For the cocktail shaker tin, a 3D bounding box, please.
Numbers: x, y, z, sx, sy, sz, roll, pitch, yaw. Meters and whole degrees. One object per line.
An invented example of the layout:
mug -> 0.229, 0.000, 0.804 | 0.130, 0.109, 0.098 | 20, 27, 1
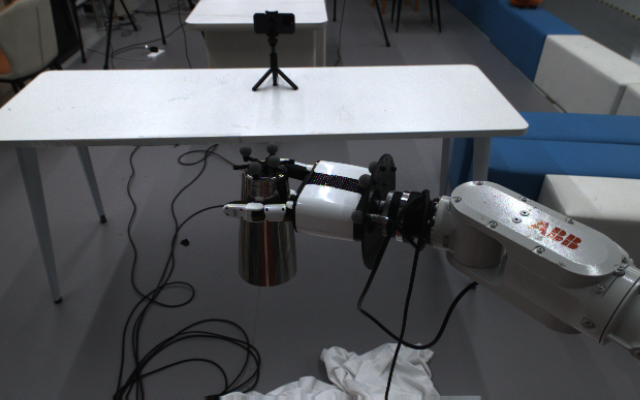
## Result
cocktail shaker tin -> -0.078, 0.030, 0.728 | 0.093, 0.170, 0.093 | 1, 27, -1
